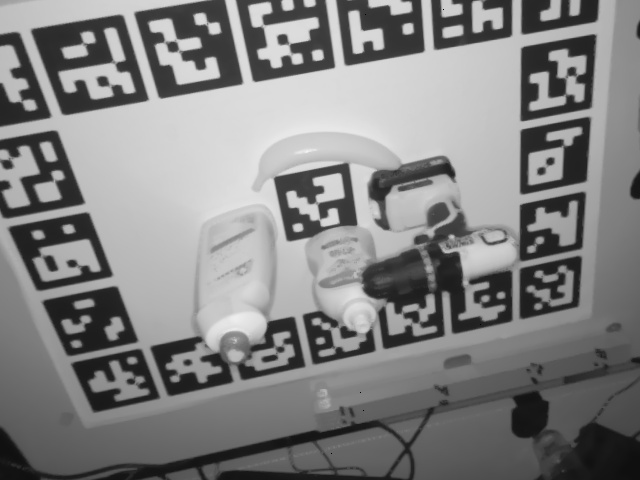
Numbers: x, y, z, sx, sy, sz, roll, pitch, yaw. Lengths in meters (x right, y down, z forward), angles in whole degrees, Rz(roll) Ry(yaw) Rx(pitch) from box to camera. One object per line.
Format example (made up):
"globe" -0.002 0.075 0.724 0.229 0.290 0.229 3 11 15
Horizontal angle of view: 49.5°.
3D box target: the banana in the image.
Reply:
"banana" 0.004 -0.113 0.861 0.198 0.039 0.074 -7 114 -7

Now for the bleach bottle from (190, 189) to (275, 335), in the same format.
"bleach bottle" -0.099 0.025 0.809 0.103 0.251 0.067 -16 118 2

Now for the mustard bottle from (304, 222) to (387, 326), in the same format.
"mustard bottle" 0.034 0.045 0.863 0.096 0.192 0.058 -8 119 -2

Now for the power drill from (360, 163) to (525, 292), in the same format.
"power drill" 0.129 -0.015 0.825 0.185 0.188 0.057 -11 125 1
